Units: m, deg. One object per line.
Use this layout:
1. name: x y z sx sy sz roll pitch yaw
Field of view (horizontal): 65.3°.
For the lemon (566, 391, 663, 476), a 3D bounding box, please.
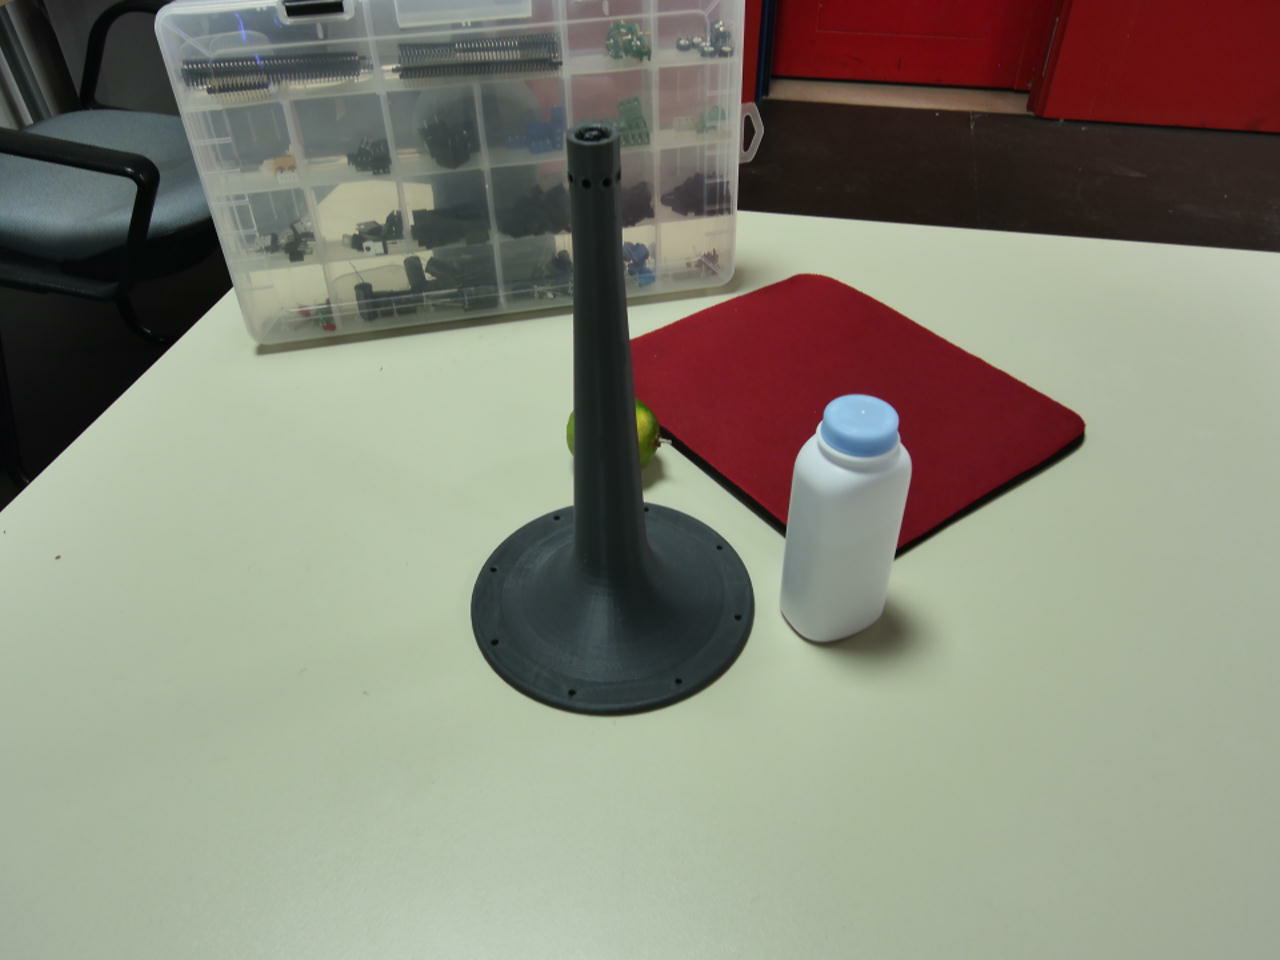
1. lemon: -0.017 -0.028 0.608 0.054 0.050 0.055 -17 42 -21
